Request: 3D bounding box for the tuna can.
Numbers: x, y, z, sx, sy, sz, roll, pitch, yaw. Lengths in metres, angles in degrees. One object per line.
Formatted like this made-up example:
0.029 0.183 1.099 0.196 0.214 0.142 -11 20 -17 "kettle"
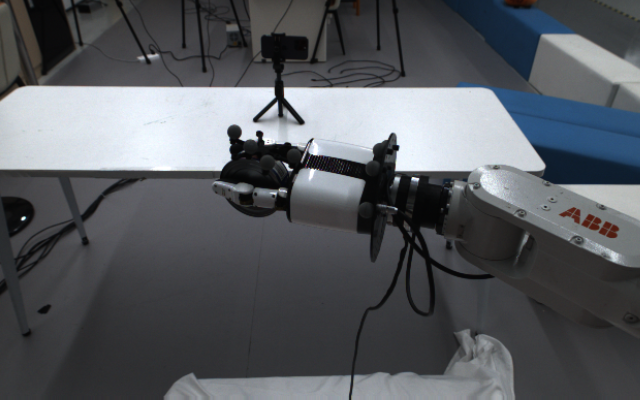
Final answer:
-0.080 -0.023 0.619 0.085 0.085 0.034 12 33 14 "tuna can"
